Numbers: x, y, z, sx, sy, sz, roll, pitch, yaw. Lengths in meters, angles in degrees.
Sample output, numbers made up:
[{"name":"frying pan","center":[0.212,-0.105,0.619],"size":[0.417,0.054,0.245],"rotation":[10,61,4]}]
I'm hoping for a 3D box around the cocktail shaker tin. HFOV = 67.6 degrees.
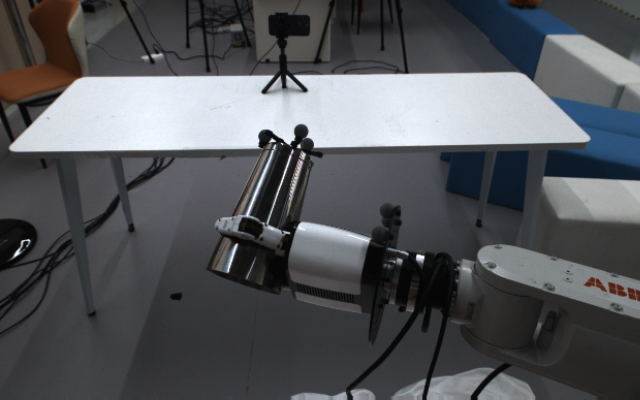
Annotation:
[{"name":"cocktail shaker tin","center":[-0.066,0.020,0.592],"size":[0.093,0.093,0.170],"rotation":[14,73,16]}]
